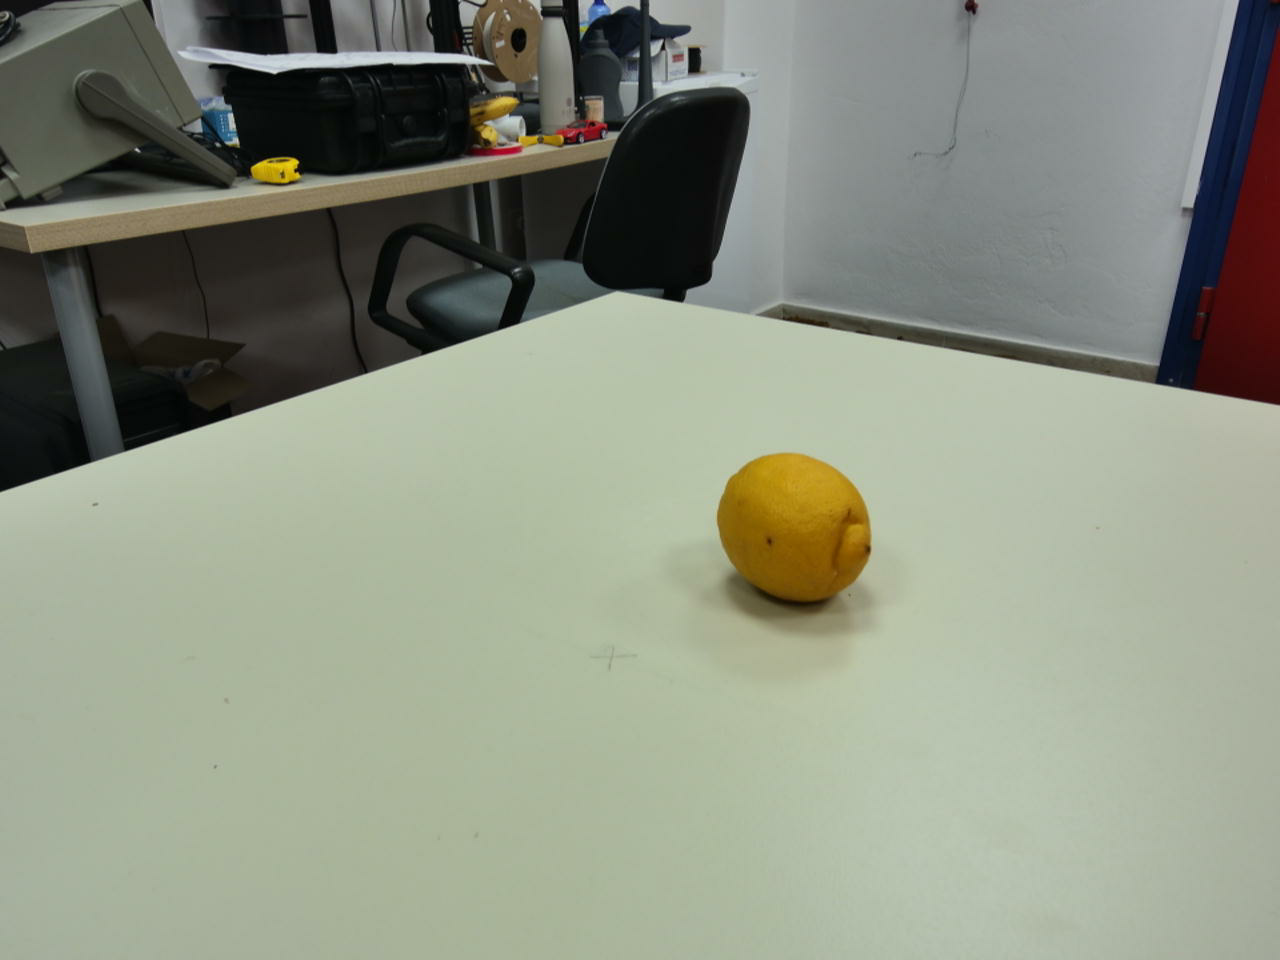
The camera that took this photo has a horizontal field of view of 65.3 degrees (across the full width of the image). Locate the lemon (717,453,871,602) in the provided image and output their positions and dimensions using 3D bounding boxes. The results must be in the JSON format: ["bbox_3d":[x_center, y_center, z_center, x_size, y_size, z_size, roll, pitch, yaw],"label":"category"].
[{"bbox_3d":[0.064,0.020,0.420,0.061,0.059,0.067,-4,23,-8],"label":"lemon"}]
